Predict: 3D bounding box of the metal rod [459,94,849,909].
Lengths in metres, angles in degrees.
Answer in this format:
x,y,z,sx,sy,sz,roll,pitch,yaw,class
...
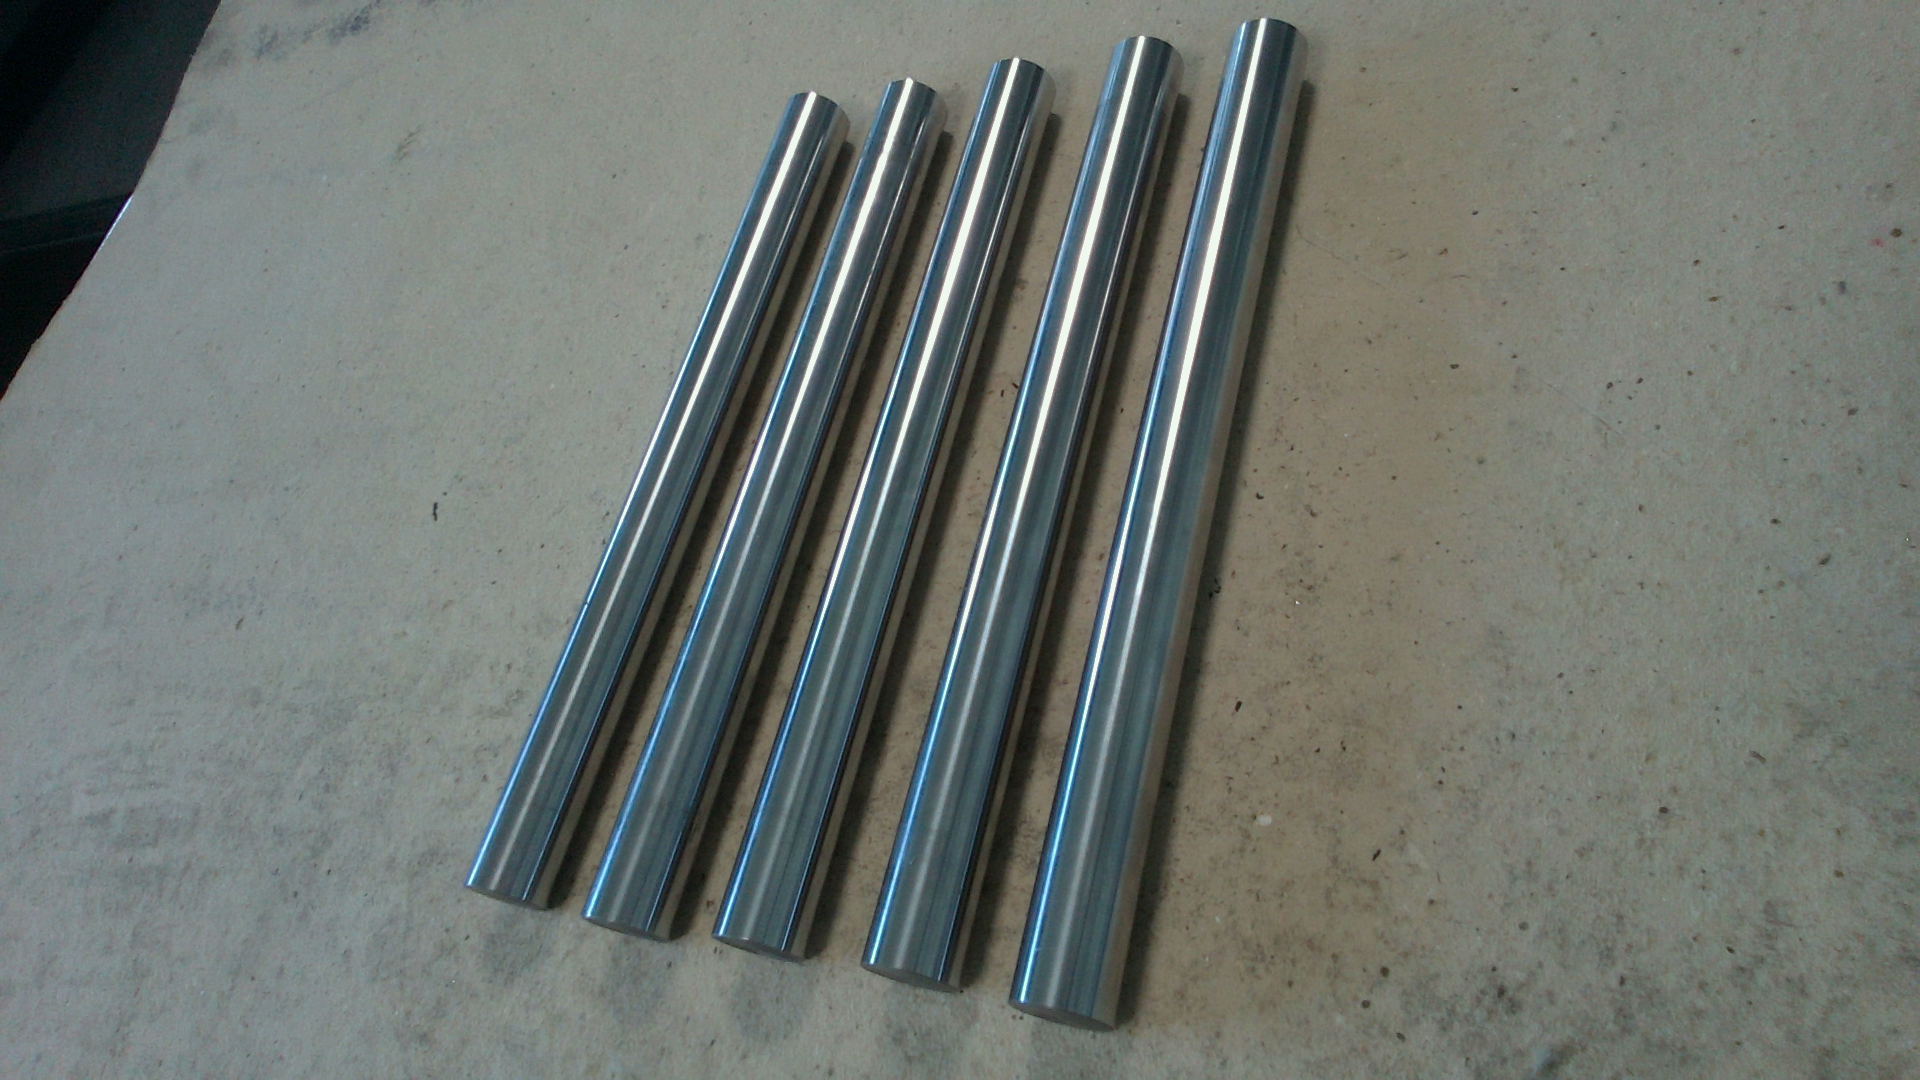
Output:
x,y,z,sx,sy,sz,roll,pitch,yaw,class
-0.094,-0.028,0.460,0.025,0.025,0.300,2,62,30,metal rod

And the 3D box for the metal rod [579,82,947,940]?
x,y,z,sx,sy,sz,roll,pitch,yaw,class
-0.055,-0.025,0.439,0.025,0.025,0.300,2,62,29,metal rod

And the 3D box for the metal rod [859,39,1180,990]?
x,y,z,sx,sy,sz,roll,pitch,yaw,class
0.024,-0.025,0.396,0.025,0.025,0.300,1,62,29,metal rod

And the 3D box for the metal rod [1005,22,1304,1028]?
x,y,z,sx,sy,sz,roll,pitch,yaw,class
0.060,-0.023,0.376,0.025,0.025,0.300,1,62,29,metal rod

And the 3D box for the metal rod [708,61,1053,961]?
x,y,z,sx,sy,sz,roll,pitch,yaw,class
-0.016,-0.026,0.419,0.025,0.025,0.300,1,62,29,metal rod
